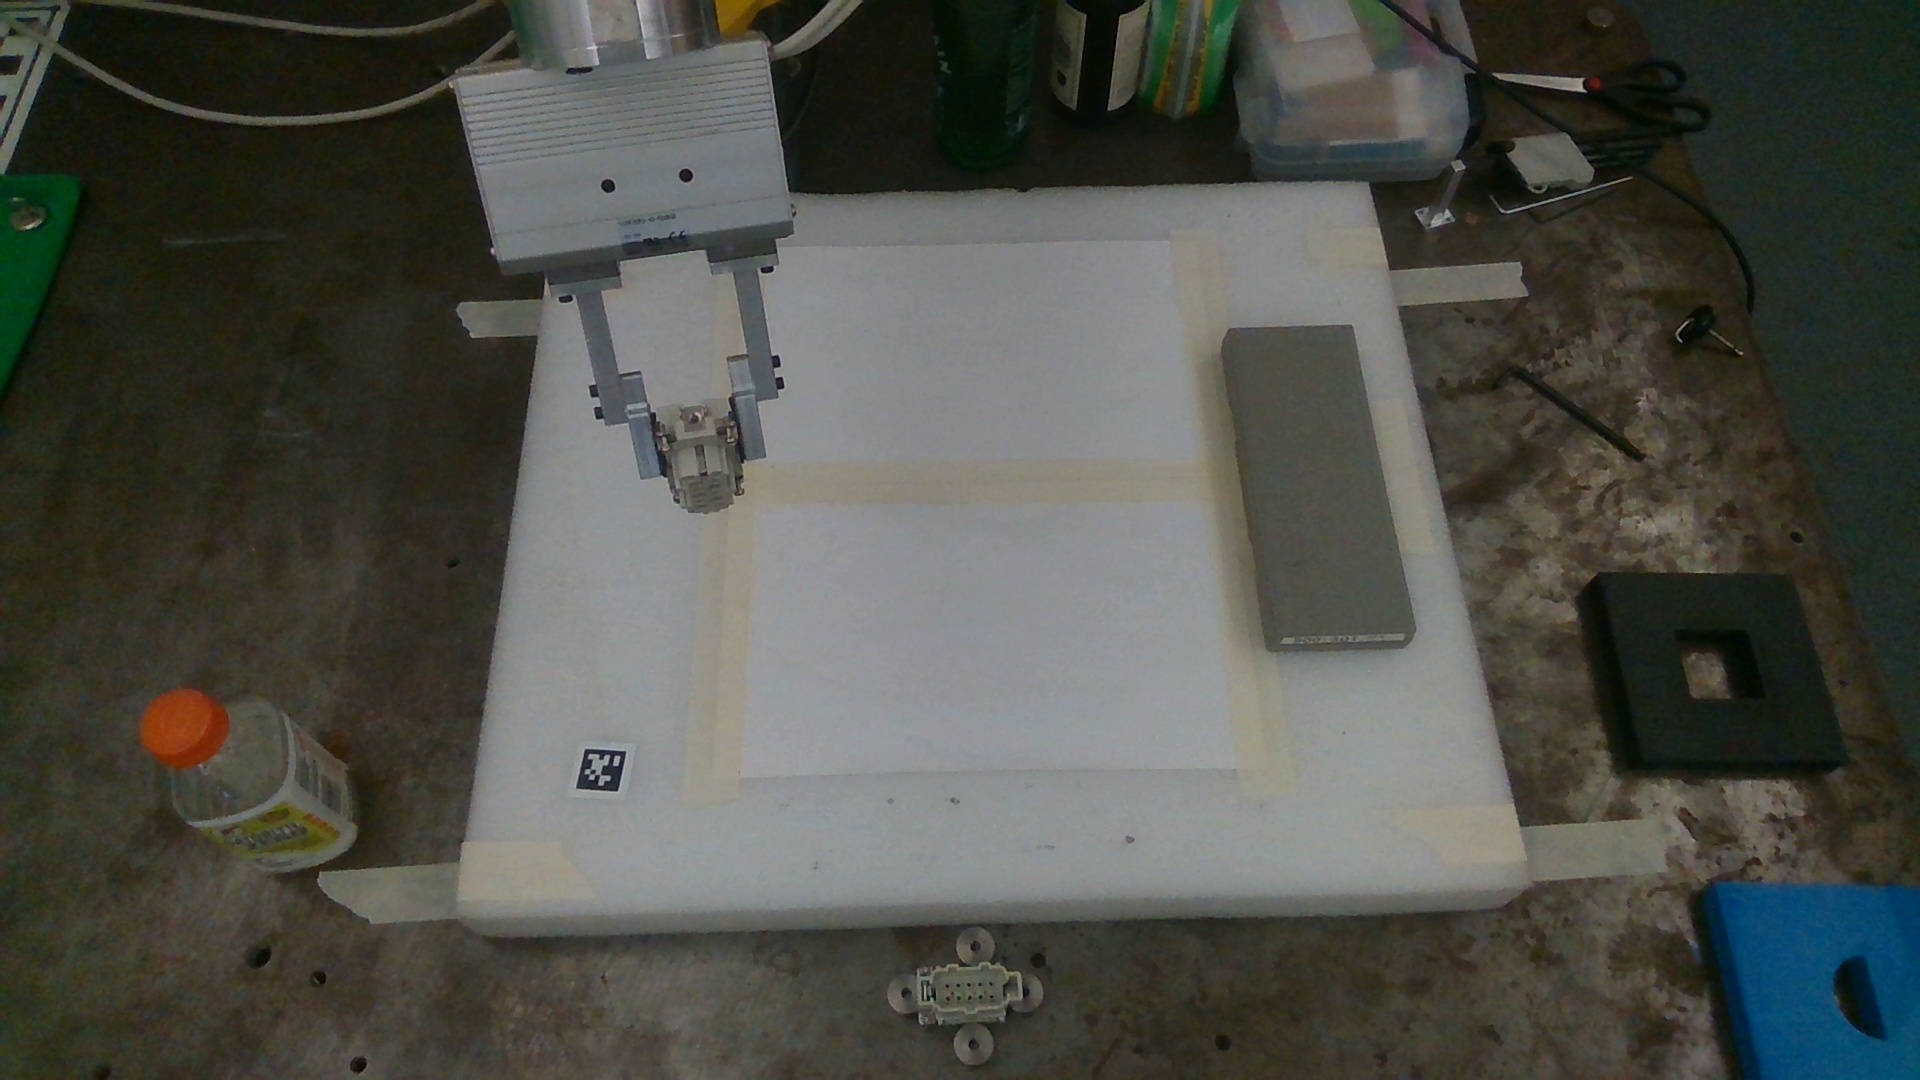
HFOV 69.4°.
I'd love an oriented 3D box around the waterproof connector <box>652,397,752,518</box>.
[{"bbox_3d":[-0.115,-0.036,0.623,0.037,0.069,0.038,-10,72,-5],"label":"waterproof connector"}]
